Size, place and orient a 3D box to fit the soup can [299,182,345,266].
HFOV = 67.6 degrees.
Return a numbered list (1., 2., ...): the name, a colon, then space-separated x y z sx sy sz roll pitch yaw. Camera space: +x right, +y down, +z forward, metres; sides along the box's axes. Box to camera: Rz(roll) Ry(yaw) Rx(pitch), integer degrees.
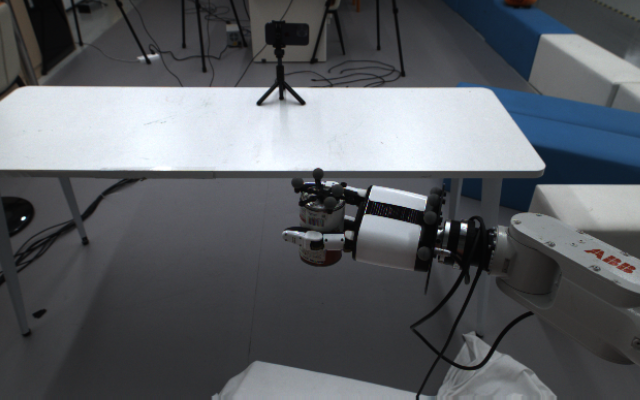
1. soup can: 0.003 0.038 0.716 0.067 0.101 0.067 2 32 -1
